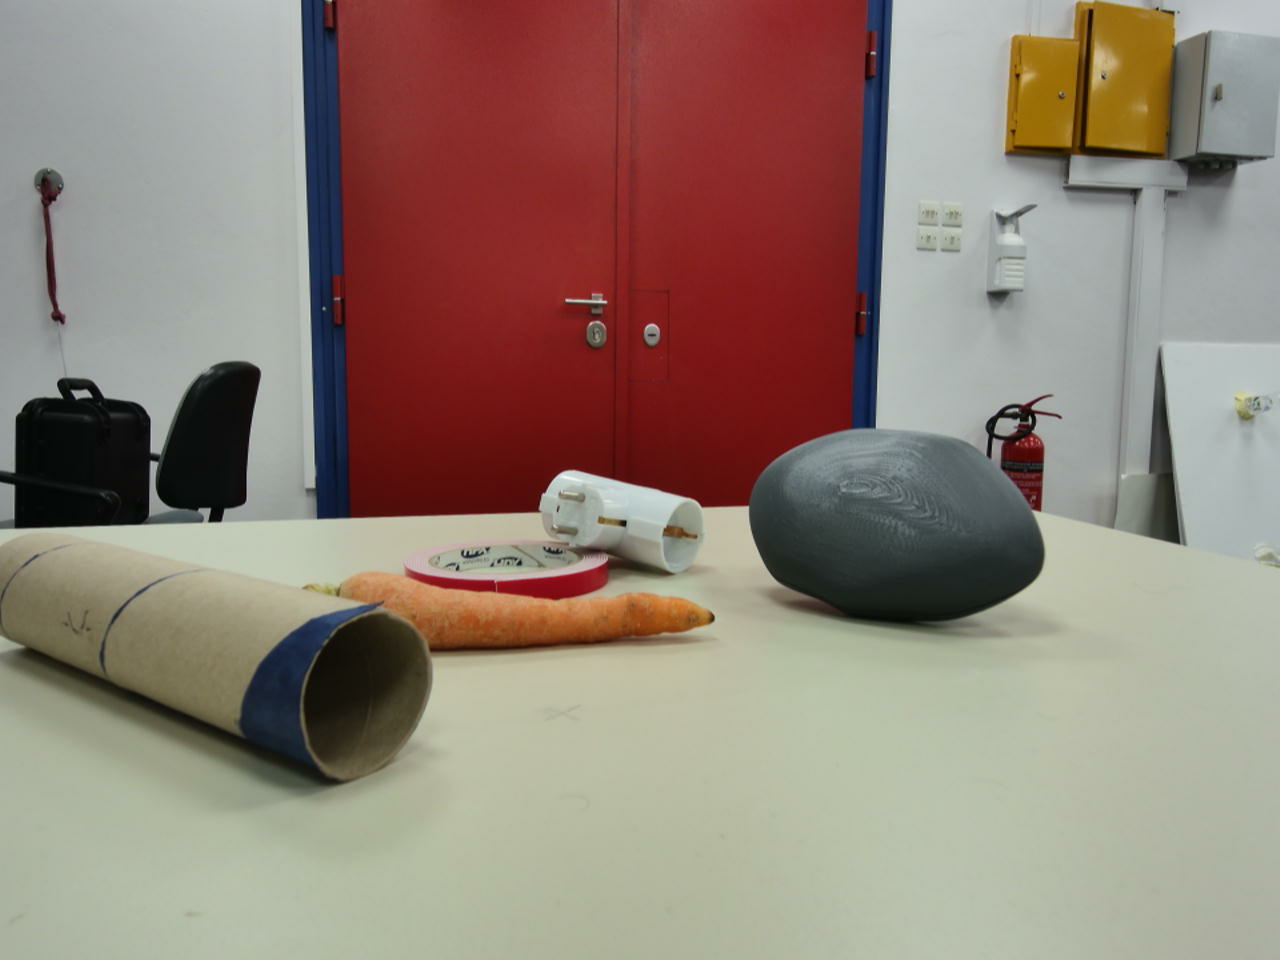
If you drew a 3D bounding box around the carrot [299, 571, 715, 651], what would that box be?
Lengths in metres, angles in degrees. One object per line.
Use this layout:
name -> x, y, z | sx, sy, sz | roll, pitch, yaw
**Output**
carrot -> -0.053, 0.053, 0.418 | 0.173, 0.032, 0.030 | 0, 4, -4
